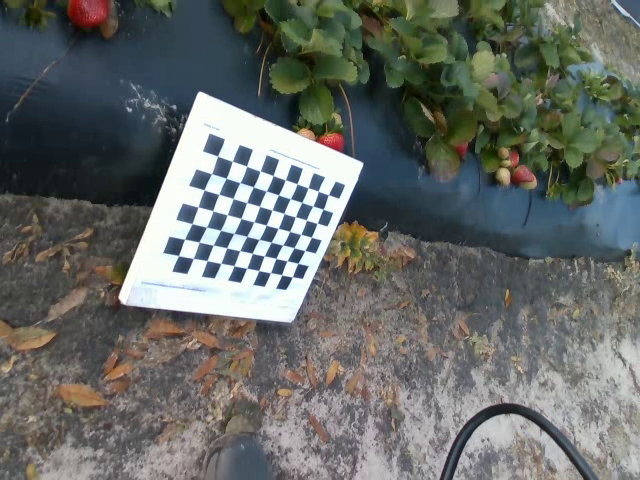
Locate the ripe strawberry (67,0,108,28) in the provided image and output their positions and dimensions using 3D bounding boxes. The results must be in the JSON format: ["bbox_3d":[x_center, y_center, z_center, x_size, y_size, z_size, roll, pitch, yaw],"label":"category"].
[{"bbox_3d":[-0.266,-0.265,0.683,0.050,0.049,0.053,4,38,-45],"label":"ripe strawberry"}]
